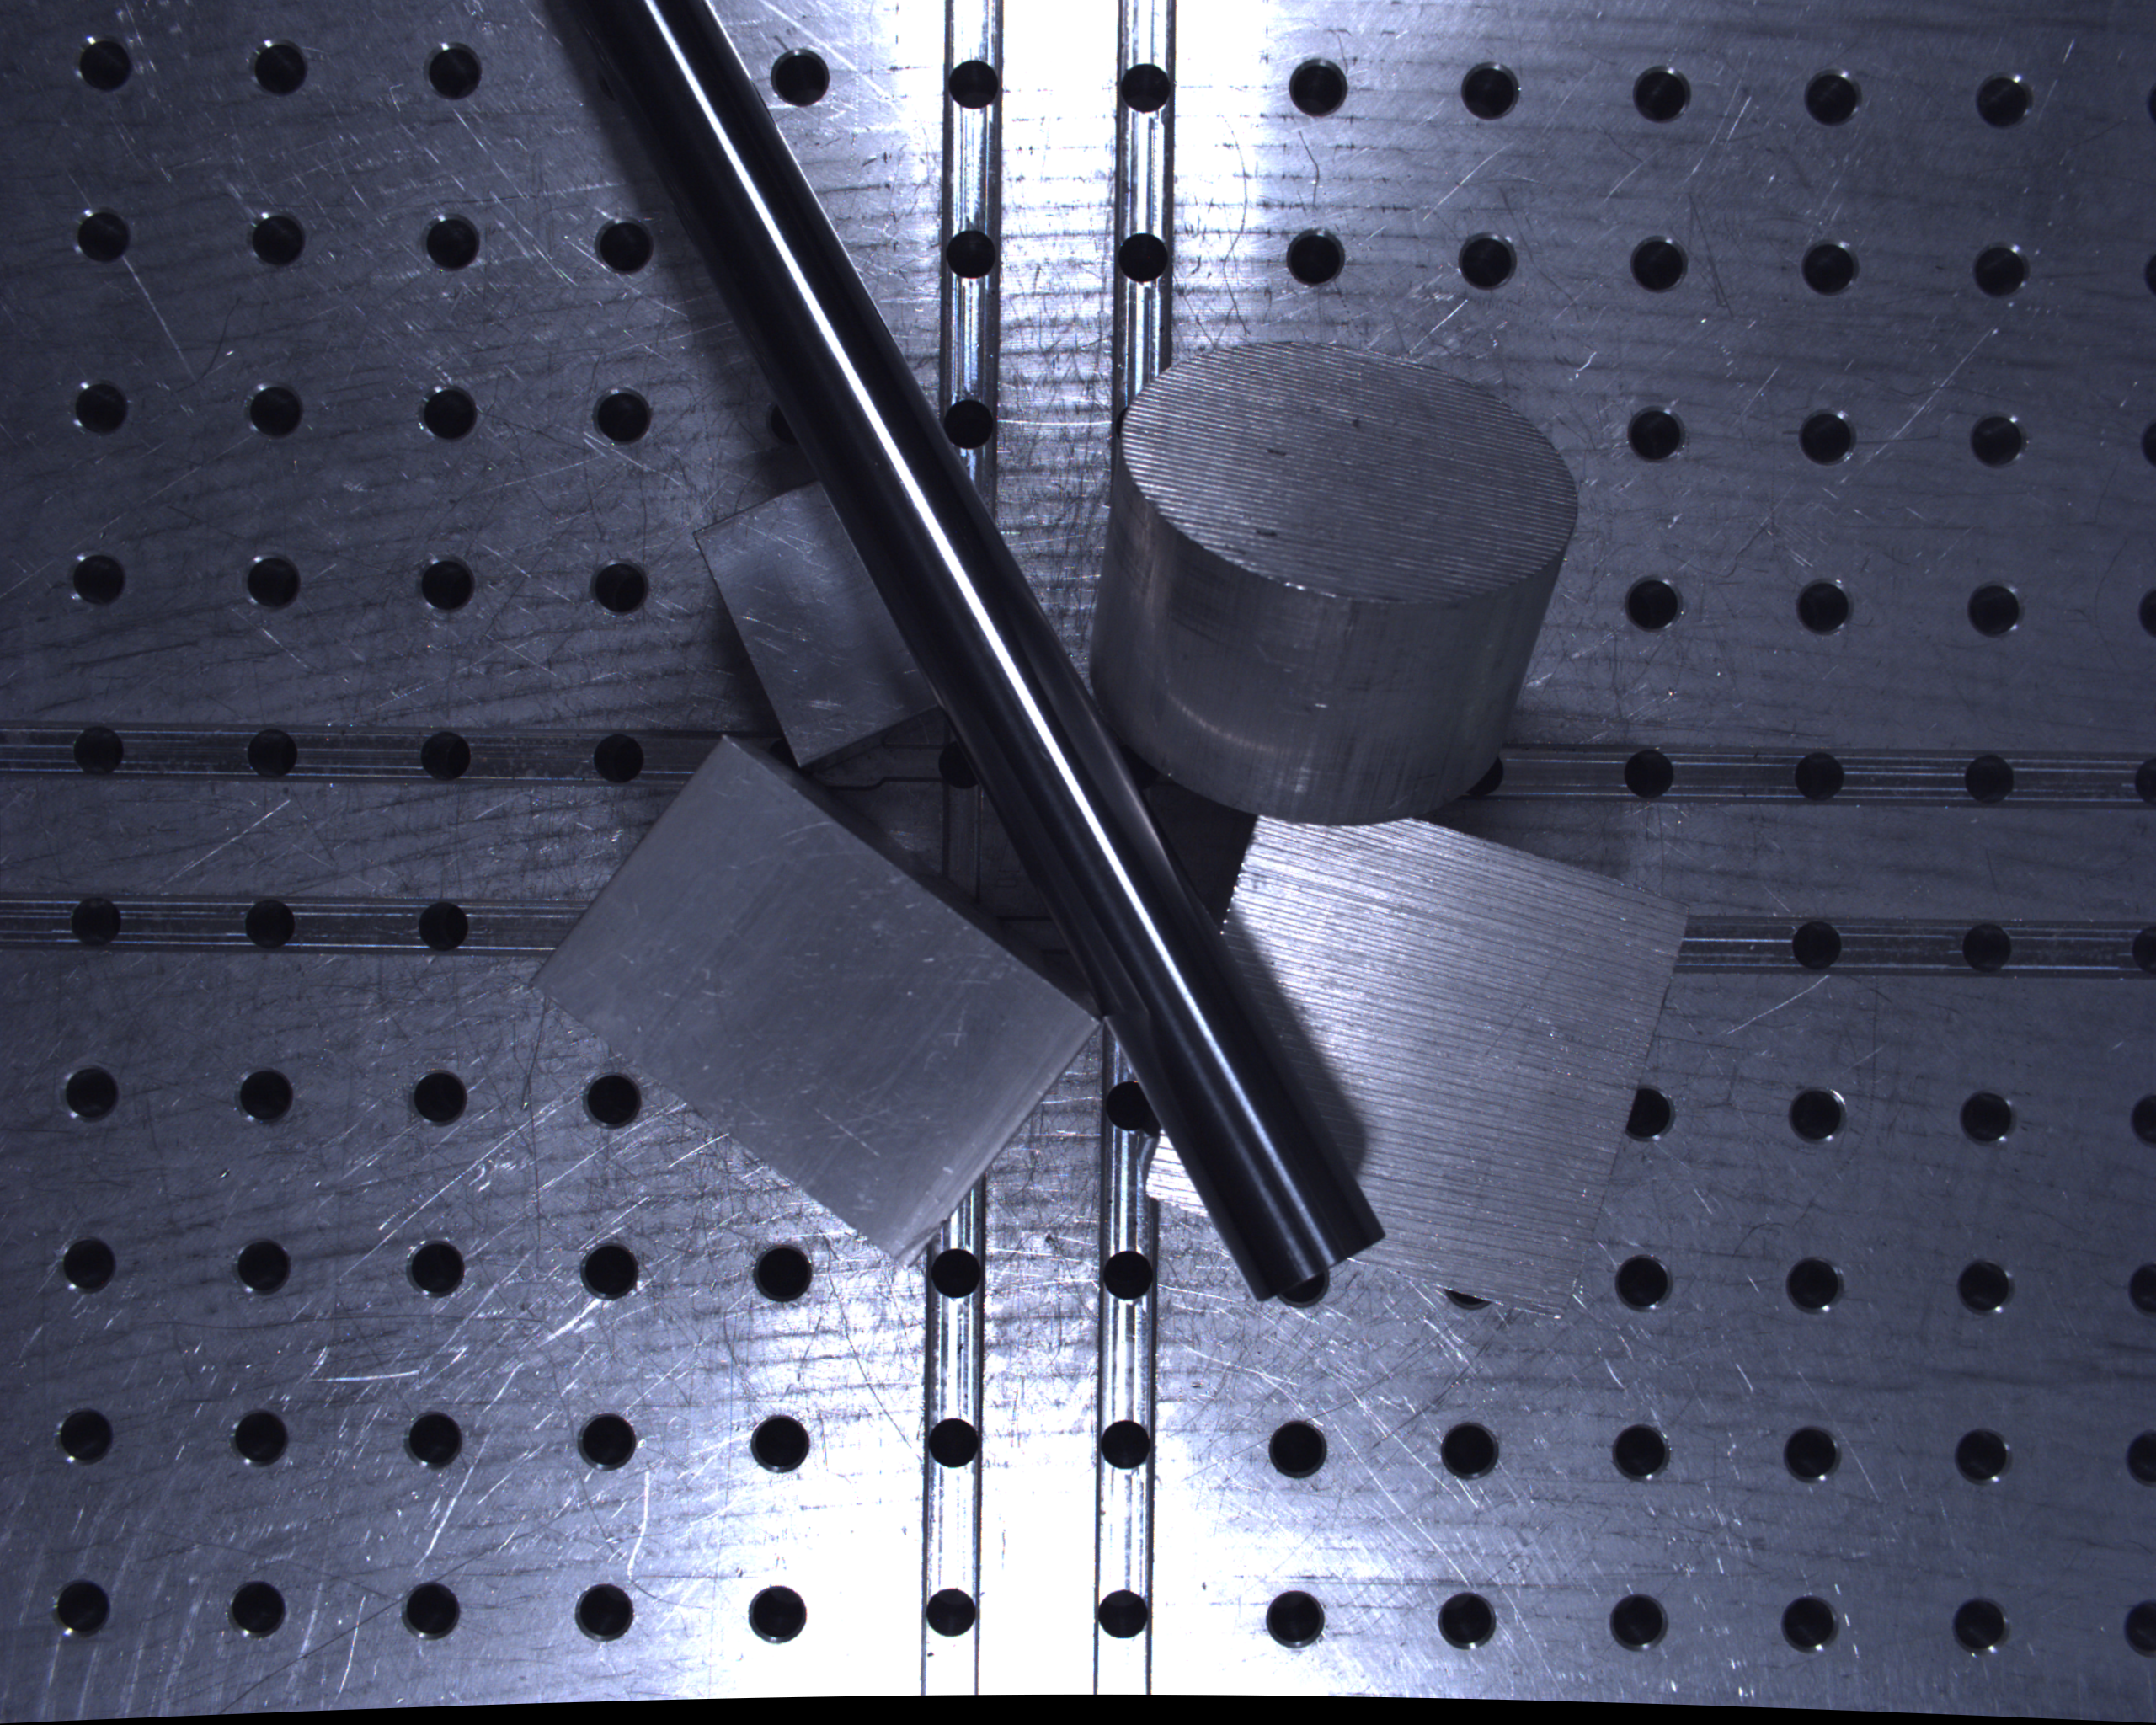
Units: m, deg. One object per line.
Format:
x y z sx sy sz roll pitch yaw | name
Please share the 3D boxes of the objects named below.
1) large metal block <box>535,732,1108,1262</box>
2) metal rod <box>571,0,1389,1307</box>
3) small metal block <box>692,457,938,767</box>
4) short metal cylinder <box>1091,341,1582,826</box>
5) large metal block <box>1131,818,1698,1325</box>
-0.043 0.022 0.385 0.080 0.080 0.050 37 90 -1 | large metal block
-0.027 -0.060 0.383 0.025 0.025 0.299 -28 79 0 | metal rod
-0.041 -0.051 0.413 0.050 0.025 0.050 -24 90 -1 | small metal block
0.045 -0.052 0.380 0.081 0.080 0.050 9 134 -1 | short metal cylinder
0.061 0.034 0.401 0.080 0.050 0.080 18 90 -1 | large metal block
